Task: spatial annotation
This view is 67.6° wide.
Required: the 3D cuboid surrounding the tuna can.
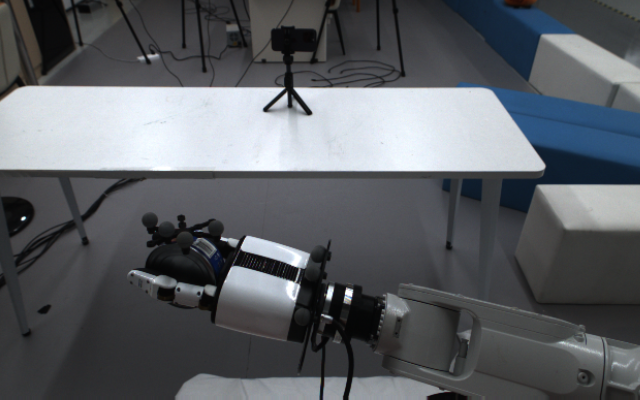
[{"bbox_3d":[-0.153,0.082,0.562,0.085,0.085,0.034,9,22,9],"label":"tuna can"}]
